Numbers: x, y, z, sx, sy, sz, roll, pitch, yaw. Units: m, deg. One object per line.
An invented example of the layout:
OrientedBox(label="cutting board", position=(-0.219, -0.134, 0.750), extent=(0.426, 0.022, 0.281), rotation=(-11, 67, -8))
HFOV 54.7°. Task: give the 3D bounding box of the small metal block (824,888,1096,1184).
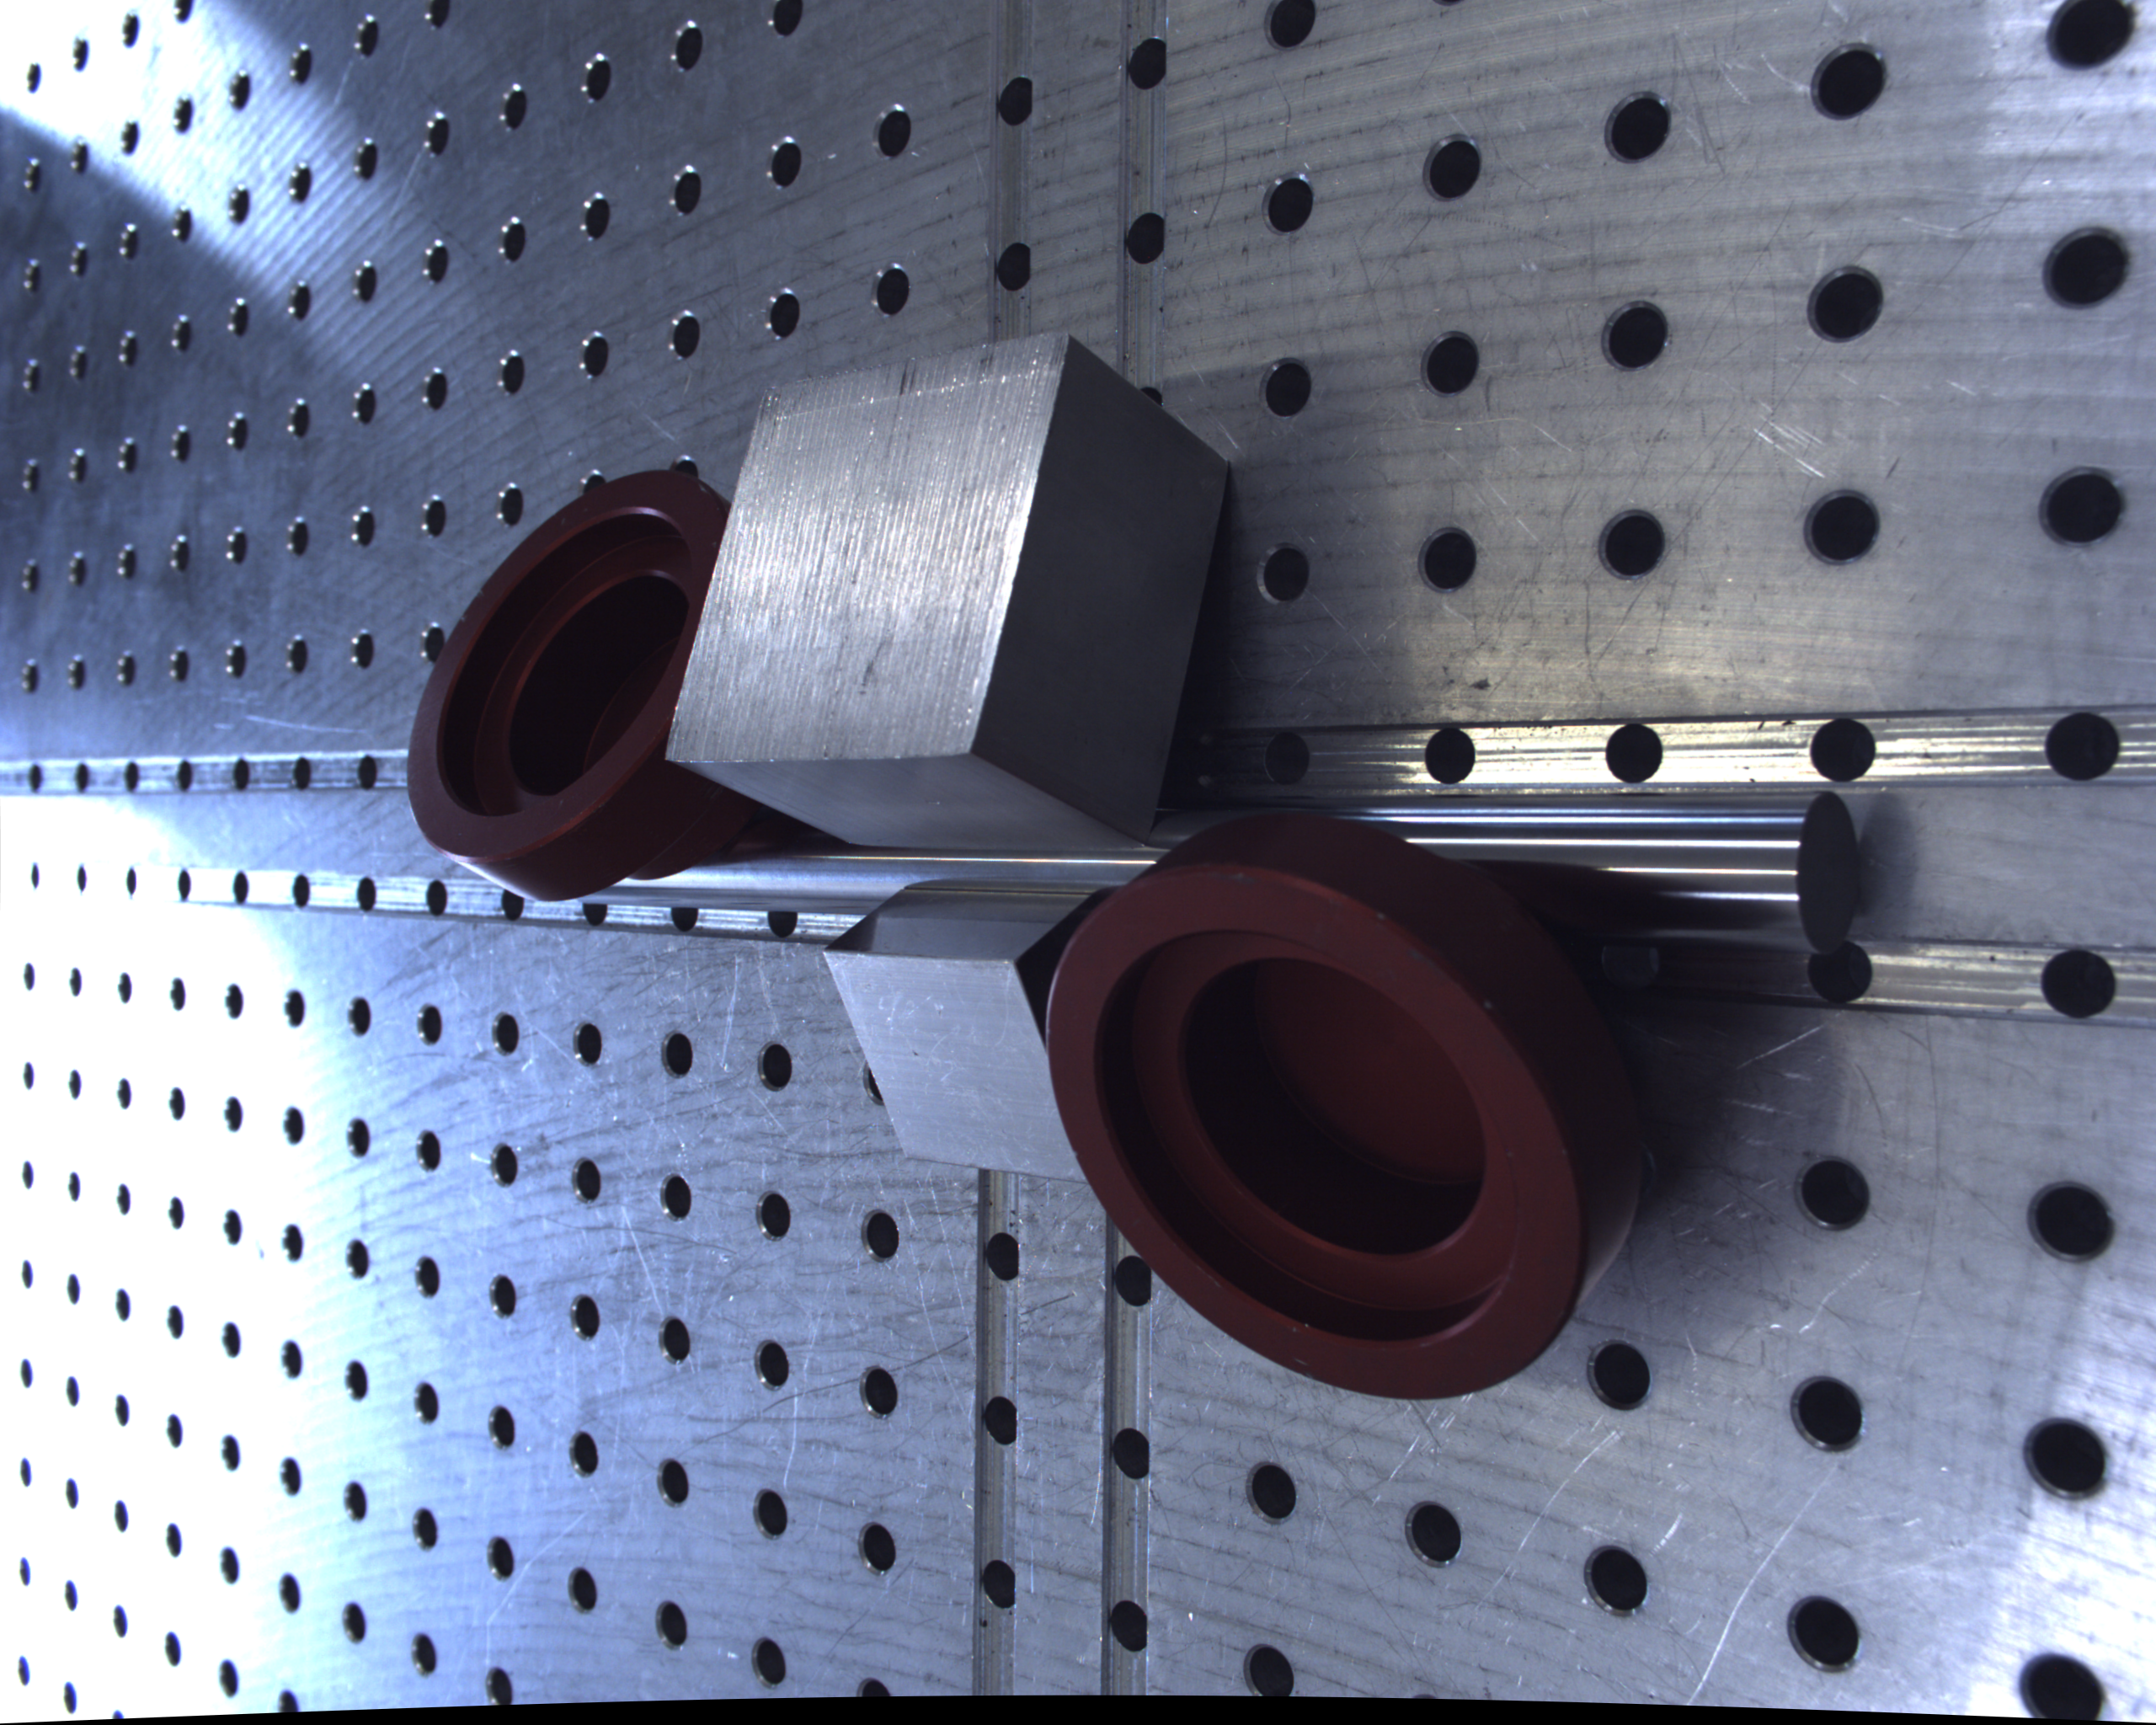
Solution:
OrientedBox(label="small metal block", position=(-0.016, 0.033, 0.410), extent=(0.050, 0.025, 0.050), rotation=(1, 120, 40))

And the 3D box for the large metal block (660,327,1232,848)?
OrientedBox(label="large metal block", position=(-0.025, -0.049, 0.399), extent=(0.080, 0.050, 0.080), rotation=(1, 73, 40))

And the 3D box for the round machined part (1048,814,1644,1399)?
OrientedBox(label="round machined part", position=(0.047, 0.036, 0.344), extent=(0.098, 0.042, 0.097), rotation=(20, 127, 30))

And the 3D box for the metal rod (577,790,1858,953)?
OrientedBox(label="metal rod", position=(-0.002, -0.001, 0.412), extent=(0.300, 0.025, 0.025), rotation=(1, 91, 40))

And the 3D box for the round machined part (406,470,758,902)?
OrientedBox(label="round machined part", position=(-0.100, -0.035, 0.464), extent=(0.098, 0.042, 0.098), rotation=(-20, 52, 29))
